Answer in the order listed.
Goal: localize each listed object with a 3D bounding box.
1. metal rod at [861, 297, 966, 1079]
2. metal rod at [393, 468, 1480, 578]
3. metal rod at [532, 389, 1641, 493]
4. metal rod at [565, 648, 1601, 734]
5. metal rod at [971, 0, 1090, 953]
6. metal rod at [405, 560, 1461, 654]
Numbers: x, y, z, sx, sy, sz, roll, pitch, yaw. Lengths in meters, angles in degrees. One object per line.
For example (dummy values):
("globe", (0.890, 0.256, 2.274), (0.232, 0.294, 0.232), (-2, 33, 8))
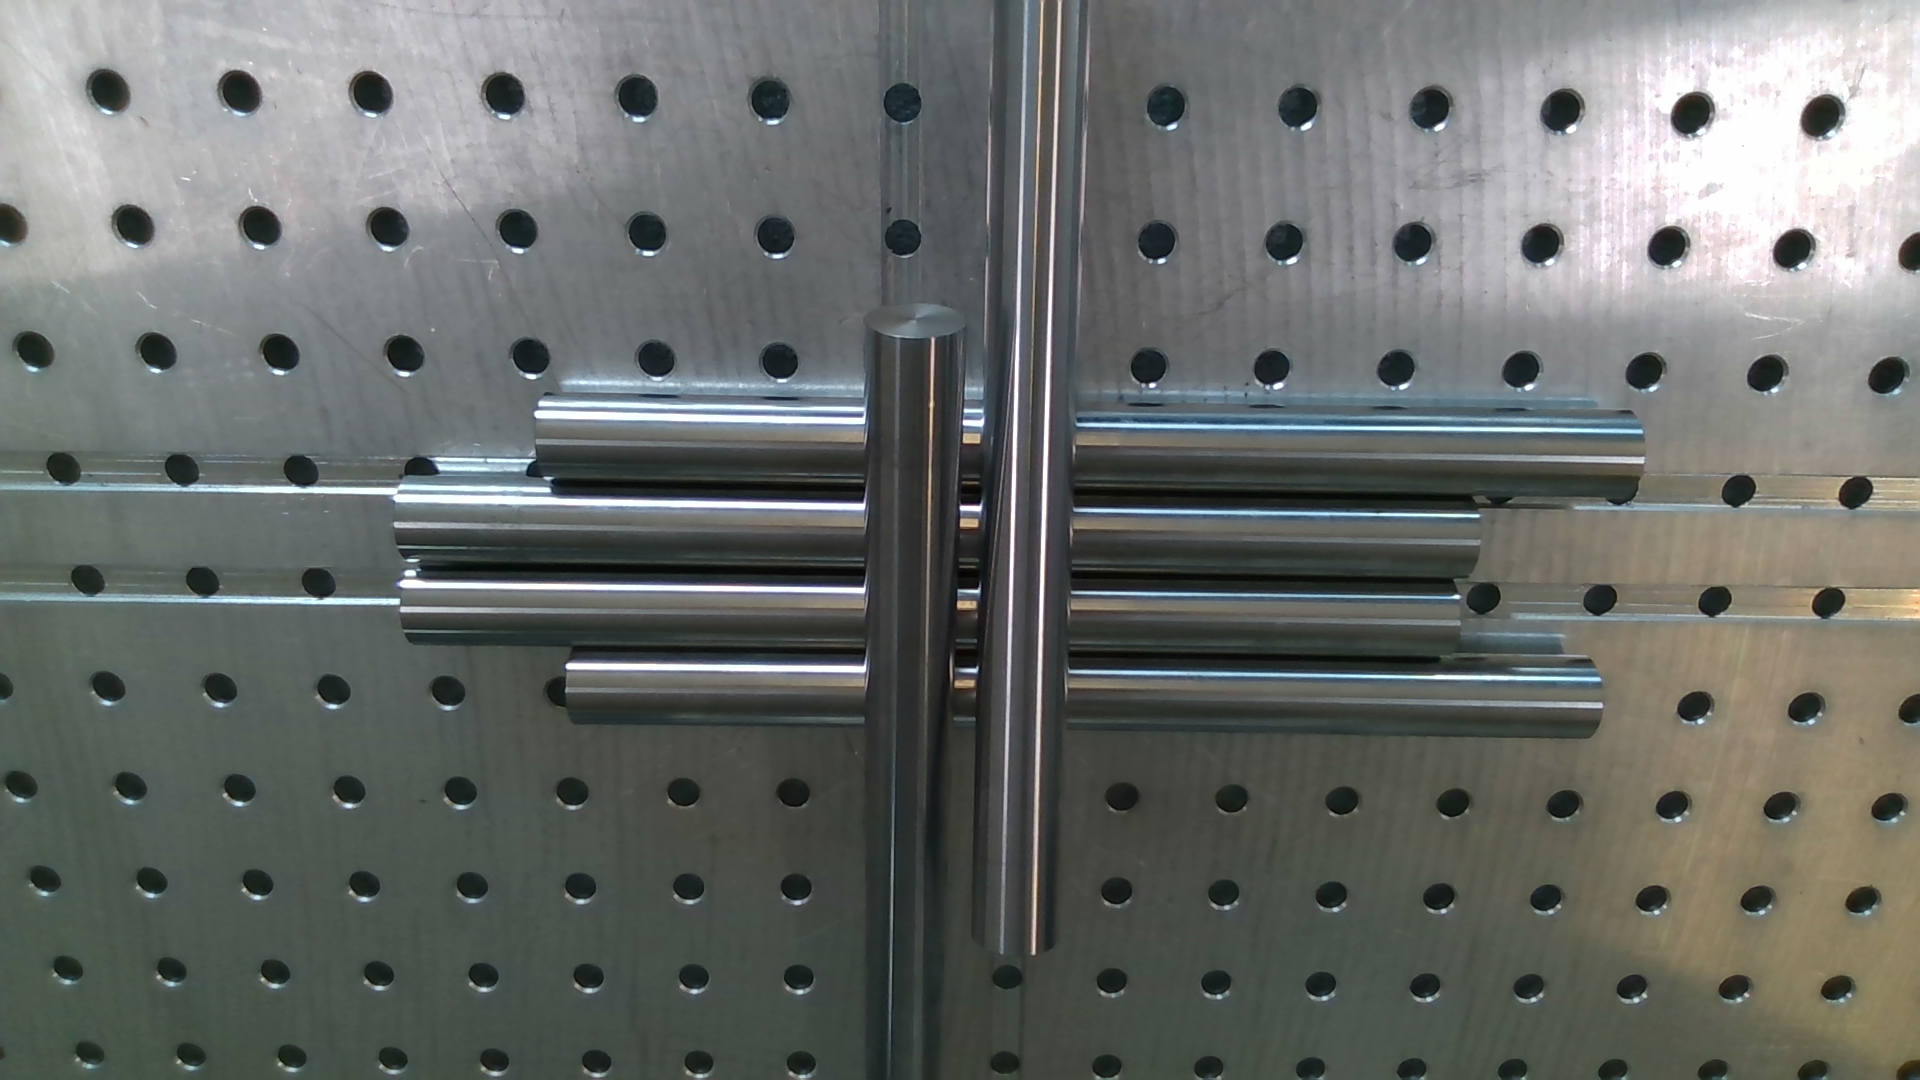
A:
("metal rod", (-0.016, 0.077, 0.402), (0.025, 0.025, 0.301), (2, 119, -1))
("metal rod", (-0.006, -0.005, 0.393), (0.300, 0.025, 0.025), (1, 110, 0))
("metal rod", (0.034, -0.028, 0.385), (0.300, 0.025, 0.025), (1, 110, 0))
("metal rod", (0.036, 0.044, 0.411), (0.300, 0.025, 0.025), (1, 110, 0))
("metal rod", (0.018, -0.038, 0.357), (0.025, 0.025, 0.300), (1, 101, 0))
("metal rod", (-0.008, 0.019, 0.403), (0.300, 0.025, 0.025), (1, 110, 0))
